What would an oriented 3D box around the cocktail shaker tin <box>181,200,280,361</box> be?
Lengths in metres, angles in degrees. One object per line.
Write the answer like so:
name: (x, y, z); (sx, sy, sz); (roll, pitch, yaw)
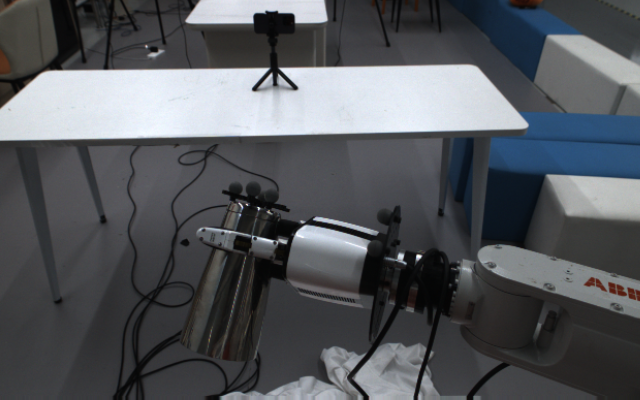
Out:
cocktail shaker tin: (-0.098, 0.093, 0.578); (0.093, 0.170, 0.093); (15, -5, 1)
